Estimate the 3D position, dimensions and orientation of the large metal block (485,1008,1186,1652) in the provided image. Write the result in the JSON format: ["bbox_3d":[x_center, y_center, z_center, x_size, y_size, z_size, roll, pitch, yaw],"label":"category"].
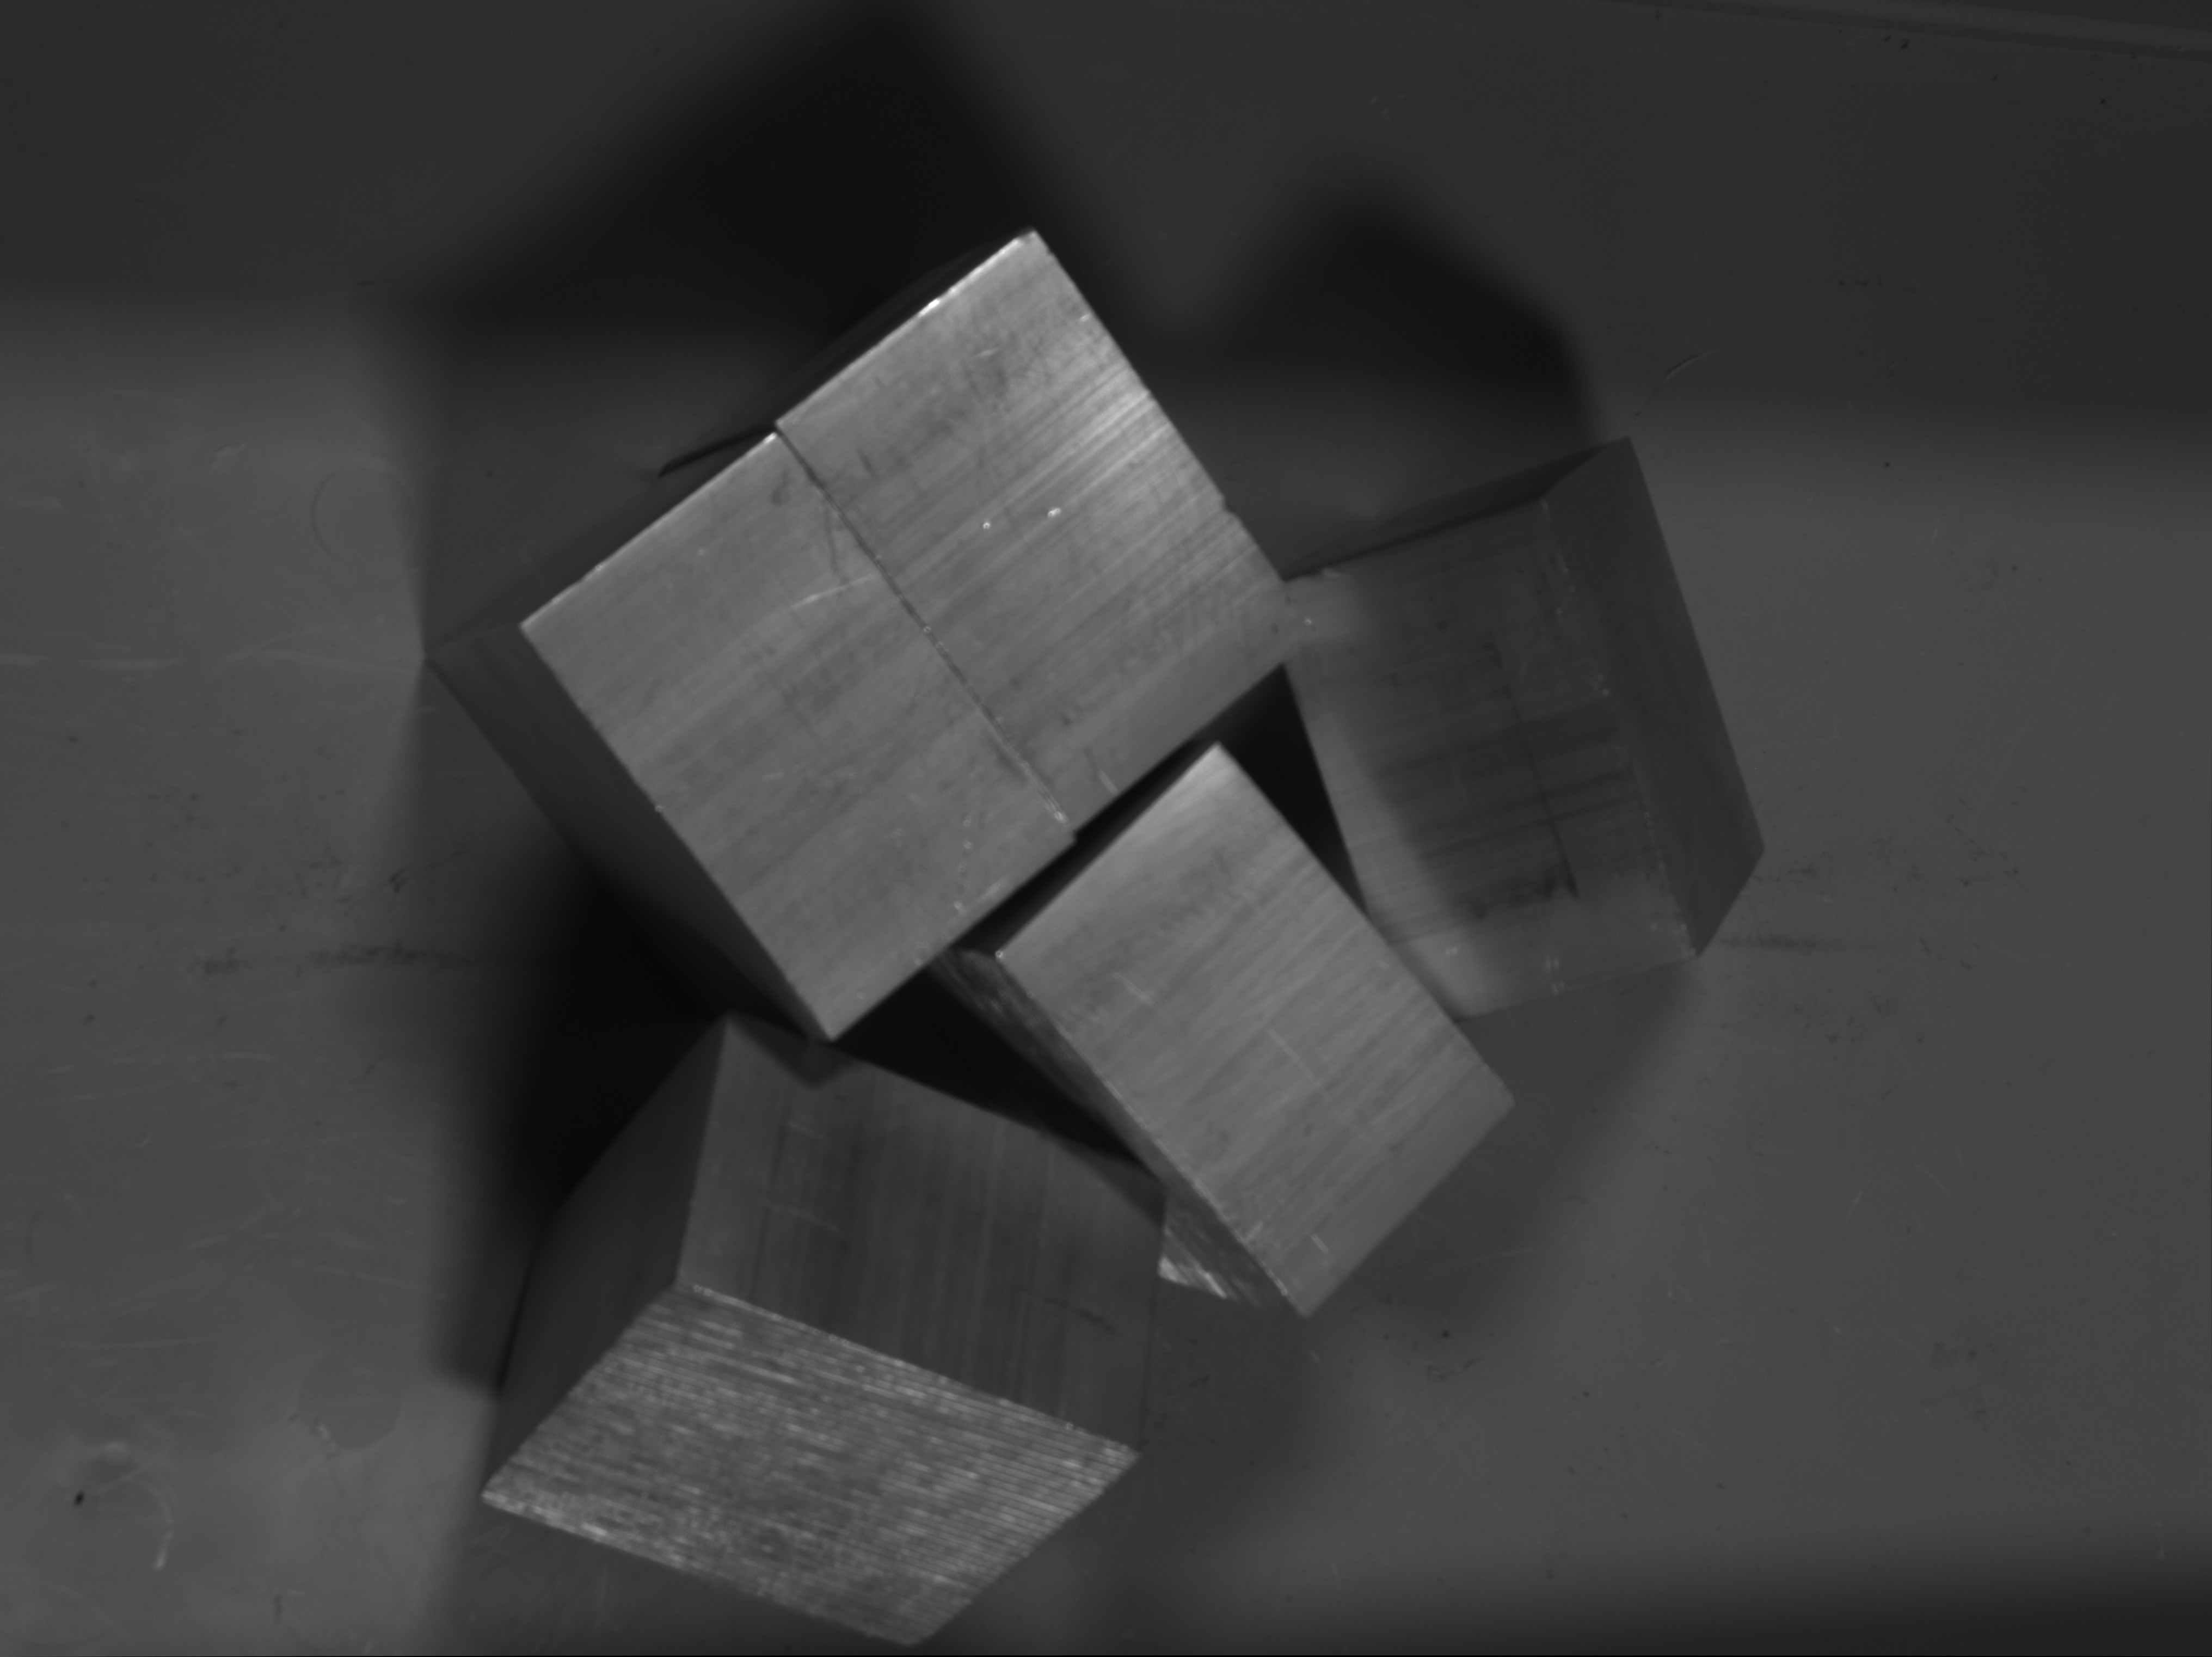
[{"bbox_3d":[-0.043,0.083,0.590,0.080,0.080,0.050,23,47,-18],"label":"large metal block"}]

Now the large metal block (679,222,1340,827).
[{"bbox_3d":[-0.018,-0.047,0.606,0.050,0.080,0.080,-40,103,-15],"label":"large metal block"}]

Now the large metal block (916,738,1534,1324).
[{"bbox_3d":[0.014,0.032,0.617,0.050,0.080,0.080,-43,103,-15],"label":"large metal block"}]

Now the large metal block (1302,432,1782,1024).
[{"bbox_3d":[0.075,-0.018,0.633,0.050,0.080,0.080,-17,97,21],"label":"large metal block"}]

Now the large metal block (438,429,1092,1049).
[{"bbox_3d":[-0.057,-0.013,0.593,0.050,0.080,0.080,-39,102,-16],"label":"large metal block"}]
